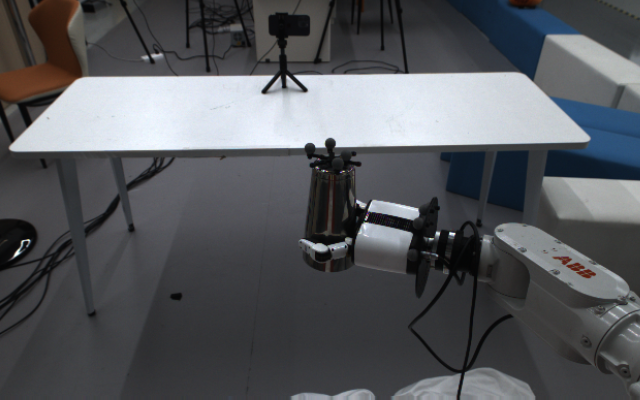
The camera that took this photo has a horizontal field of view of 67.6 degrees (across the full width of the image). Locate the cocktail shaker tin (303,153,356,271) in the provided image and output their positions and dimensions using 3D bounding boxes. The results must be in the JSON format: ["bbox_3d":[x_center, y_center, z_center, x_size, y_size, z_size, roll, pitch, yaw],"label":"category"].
[{"bbox_3d":[0.019,0.019,0.780,0.093,0.170,0.093,1,28,-1],"label":"cocktail shaker tin"}]
